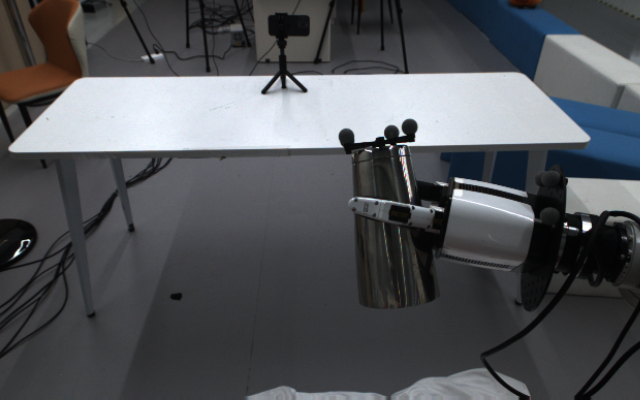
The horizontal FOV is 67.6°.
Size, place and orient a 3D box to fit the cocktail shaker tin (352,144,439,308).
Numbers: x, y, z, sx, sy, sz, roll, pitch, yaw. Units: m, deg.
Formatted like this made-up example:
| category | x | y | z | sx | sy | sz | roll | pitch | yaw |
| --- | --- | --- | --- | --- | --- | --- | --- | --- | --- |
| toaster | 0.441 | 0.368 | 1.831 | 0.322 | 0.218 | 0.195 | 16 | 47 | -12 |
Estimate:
| category | x | y | z | sx | sy | sz | roll | pitch | yaw |
| --- | --- | --- | --- | --- | --- | --- | --- | --- | --- |
| cocktail shaker tin | 0.080 | 0.028 | 0.550 | 0.093 | 0.170 | 0.093 | -8 | 1 | 0 |
